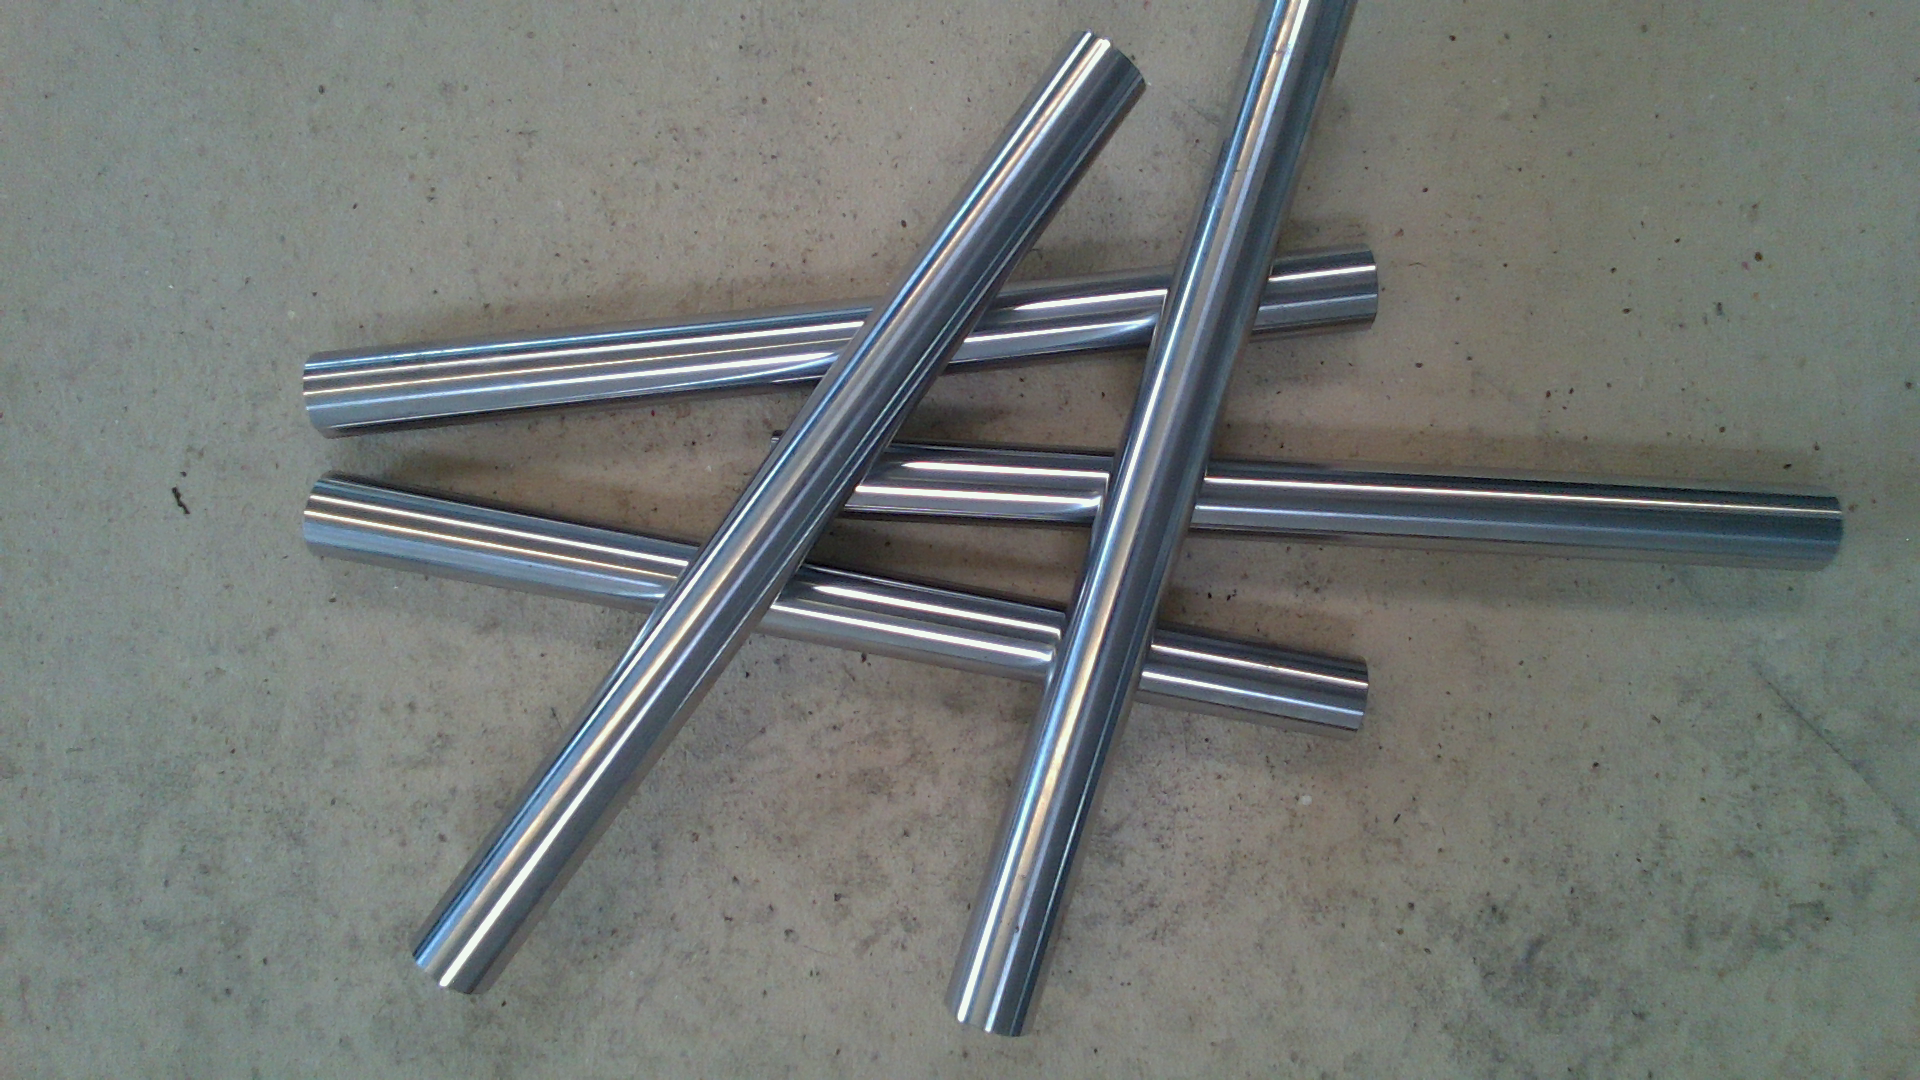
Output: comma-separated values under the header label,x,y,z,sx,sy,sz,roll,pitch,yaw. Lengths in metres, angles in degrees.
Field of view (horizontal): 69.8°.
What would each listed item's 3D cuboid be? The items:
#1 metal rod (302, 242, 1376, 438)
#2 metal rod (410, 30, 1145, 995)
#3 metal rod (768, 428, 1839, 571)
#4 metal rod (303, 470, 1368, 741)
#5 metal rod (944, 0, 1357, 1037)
label,x,y,z,sx,sy,sz,roll,pitch,yaw
metal rod,-0.033,-0.057,0.395,0.300,0.025,0.025,-6,90,0
metal rod,-0.049,-0.007,0.370,0.025,0.025,0.300,36,90,0
metal rod,0.096,-0.012,0.396,0.300,0.025,0.025,3,90,0
metal rod,-0.034,0.019,0.395,0.300,0.025,0.025,10,90,0
metal rod,0.053,-0.015,0.371,0.025,0.025,0.300,17,90,0
